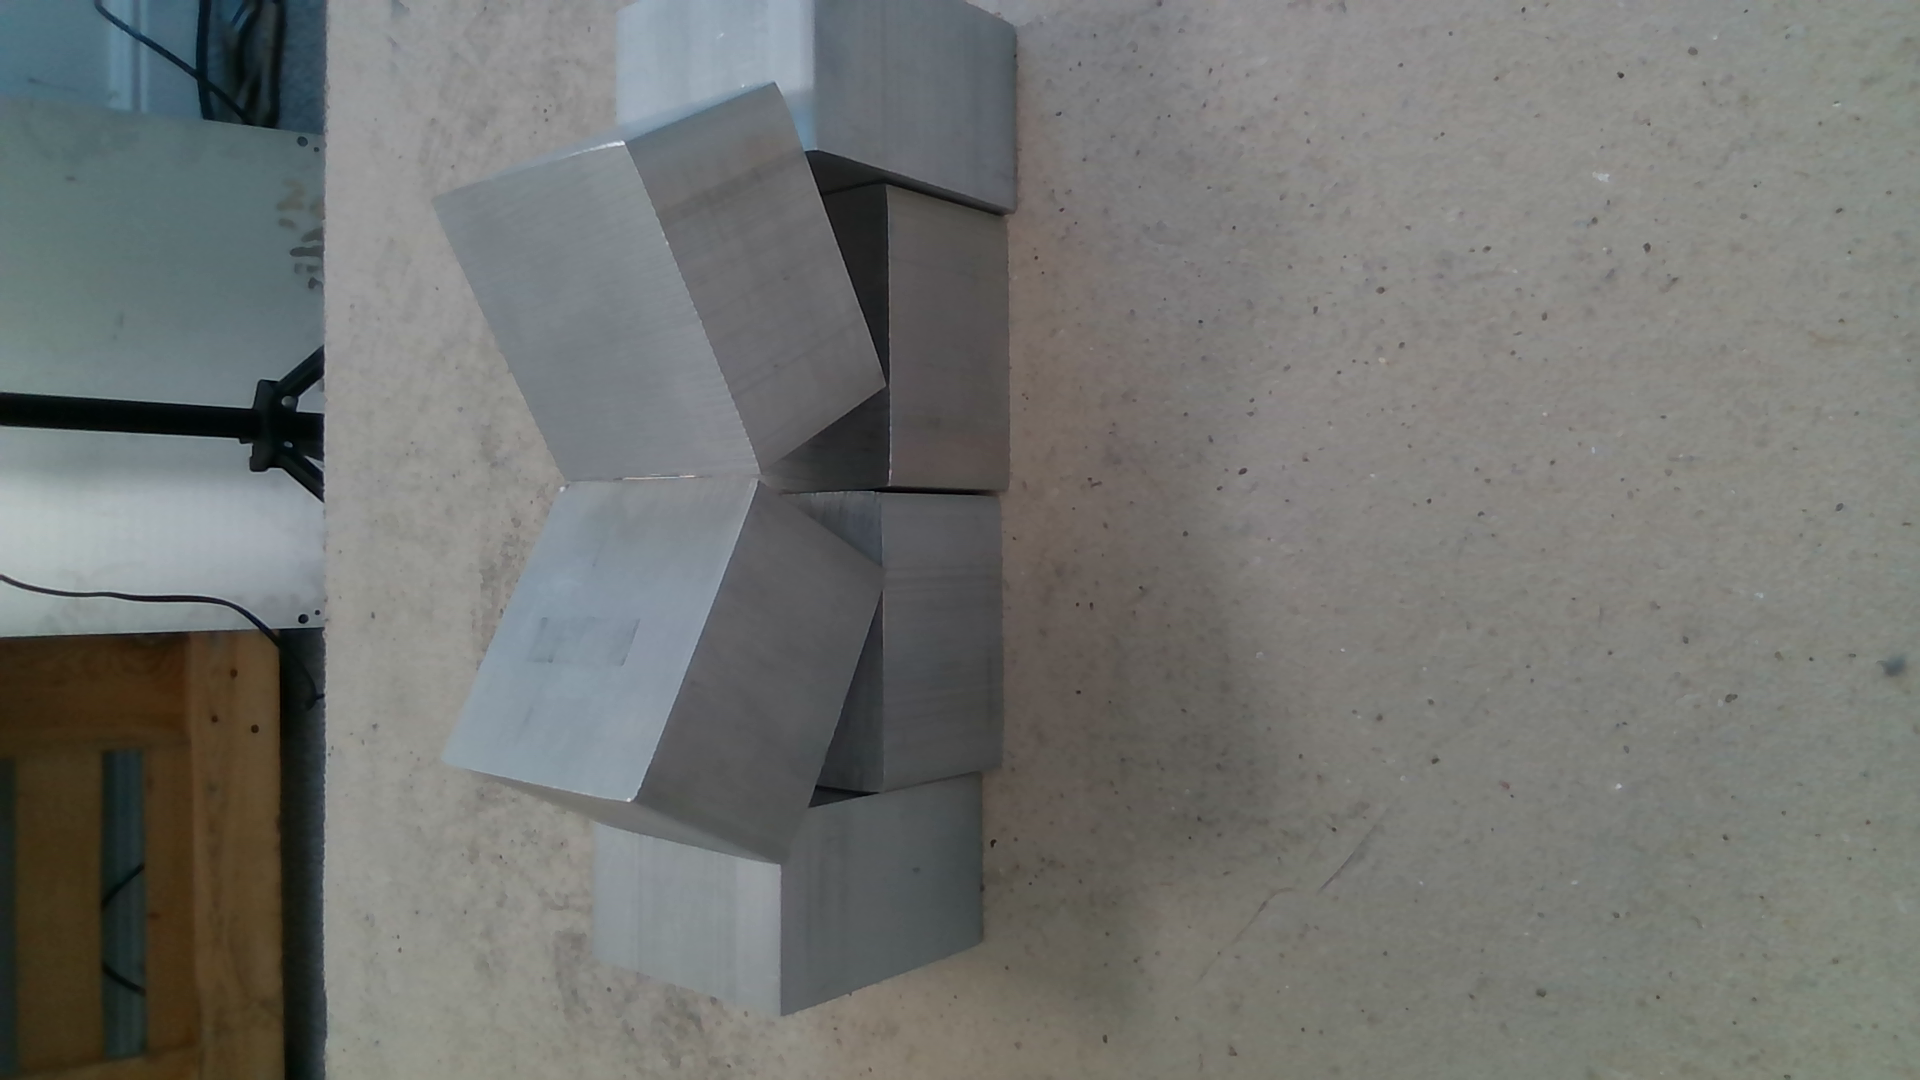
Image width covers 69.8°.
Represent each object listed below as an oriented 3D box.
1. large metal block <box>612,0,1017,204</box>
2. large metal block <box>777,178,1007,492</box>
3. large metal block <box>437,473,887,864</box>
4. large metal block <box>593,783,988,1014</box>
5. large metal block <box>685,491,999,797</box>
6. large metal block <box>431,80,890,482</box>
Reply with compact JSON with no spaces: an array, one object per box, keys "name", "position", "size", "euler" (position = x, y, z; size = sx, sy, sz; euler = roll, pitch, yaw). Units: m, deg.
[{"name":"large metal block","position":[-0.040,-0.121,0.387],"size":[0.080,0.080,0.050],"euler":[-1,89,39]},{"name":"large metal block","position":[-0.033,-0.054,0.402],"size":[0.080,0.050,0.080],"euler":[0,90,40]},{"name":"large metal block","position":[-0.076,0.031,0.353],"size":[0.080,0.050,0.080],"euler":[1,65,40]},{"name":"large metal block","position":[-0.049,0.093,0.399],"size":[0.080,0.080,0.050],"euler":[0,91,40]},{"name":"large metal block","position":[-0.036,0.027,0.404],"size":[0.080,0.050,0.080],"euler":[0,90,40]},{"name":"large metal block","position":[-0.075,-0.062,0.351],"size":[0.080,0.050,0.080],"euler":[0,120,40]}]
